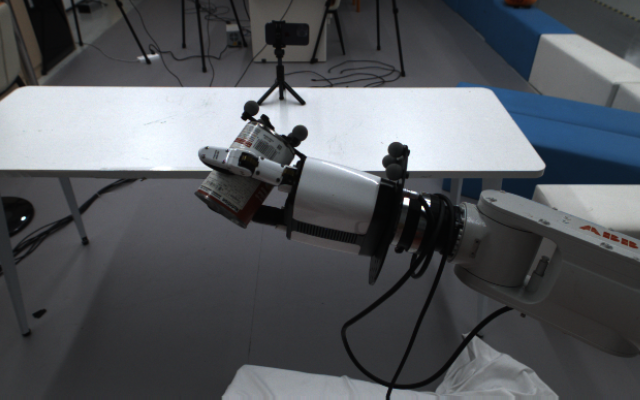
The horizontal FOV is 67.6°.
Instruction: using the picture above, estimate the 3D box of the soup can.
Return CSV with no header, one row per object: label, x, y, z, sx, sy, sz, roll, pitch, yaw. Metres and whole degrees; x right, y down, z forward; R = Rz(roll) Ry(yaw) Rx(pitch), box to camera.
soup can,-0.082,-0.029,0.543,0.067,0.067,0.101,26,76,30
